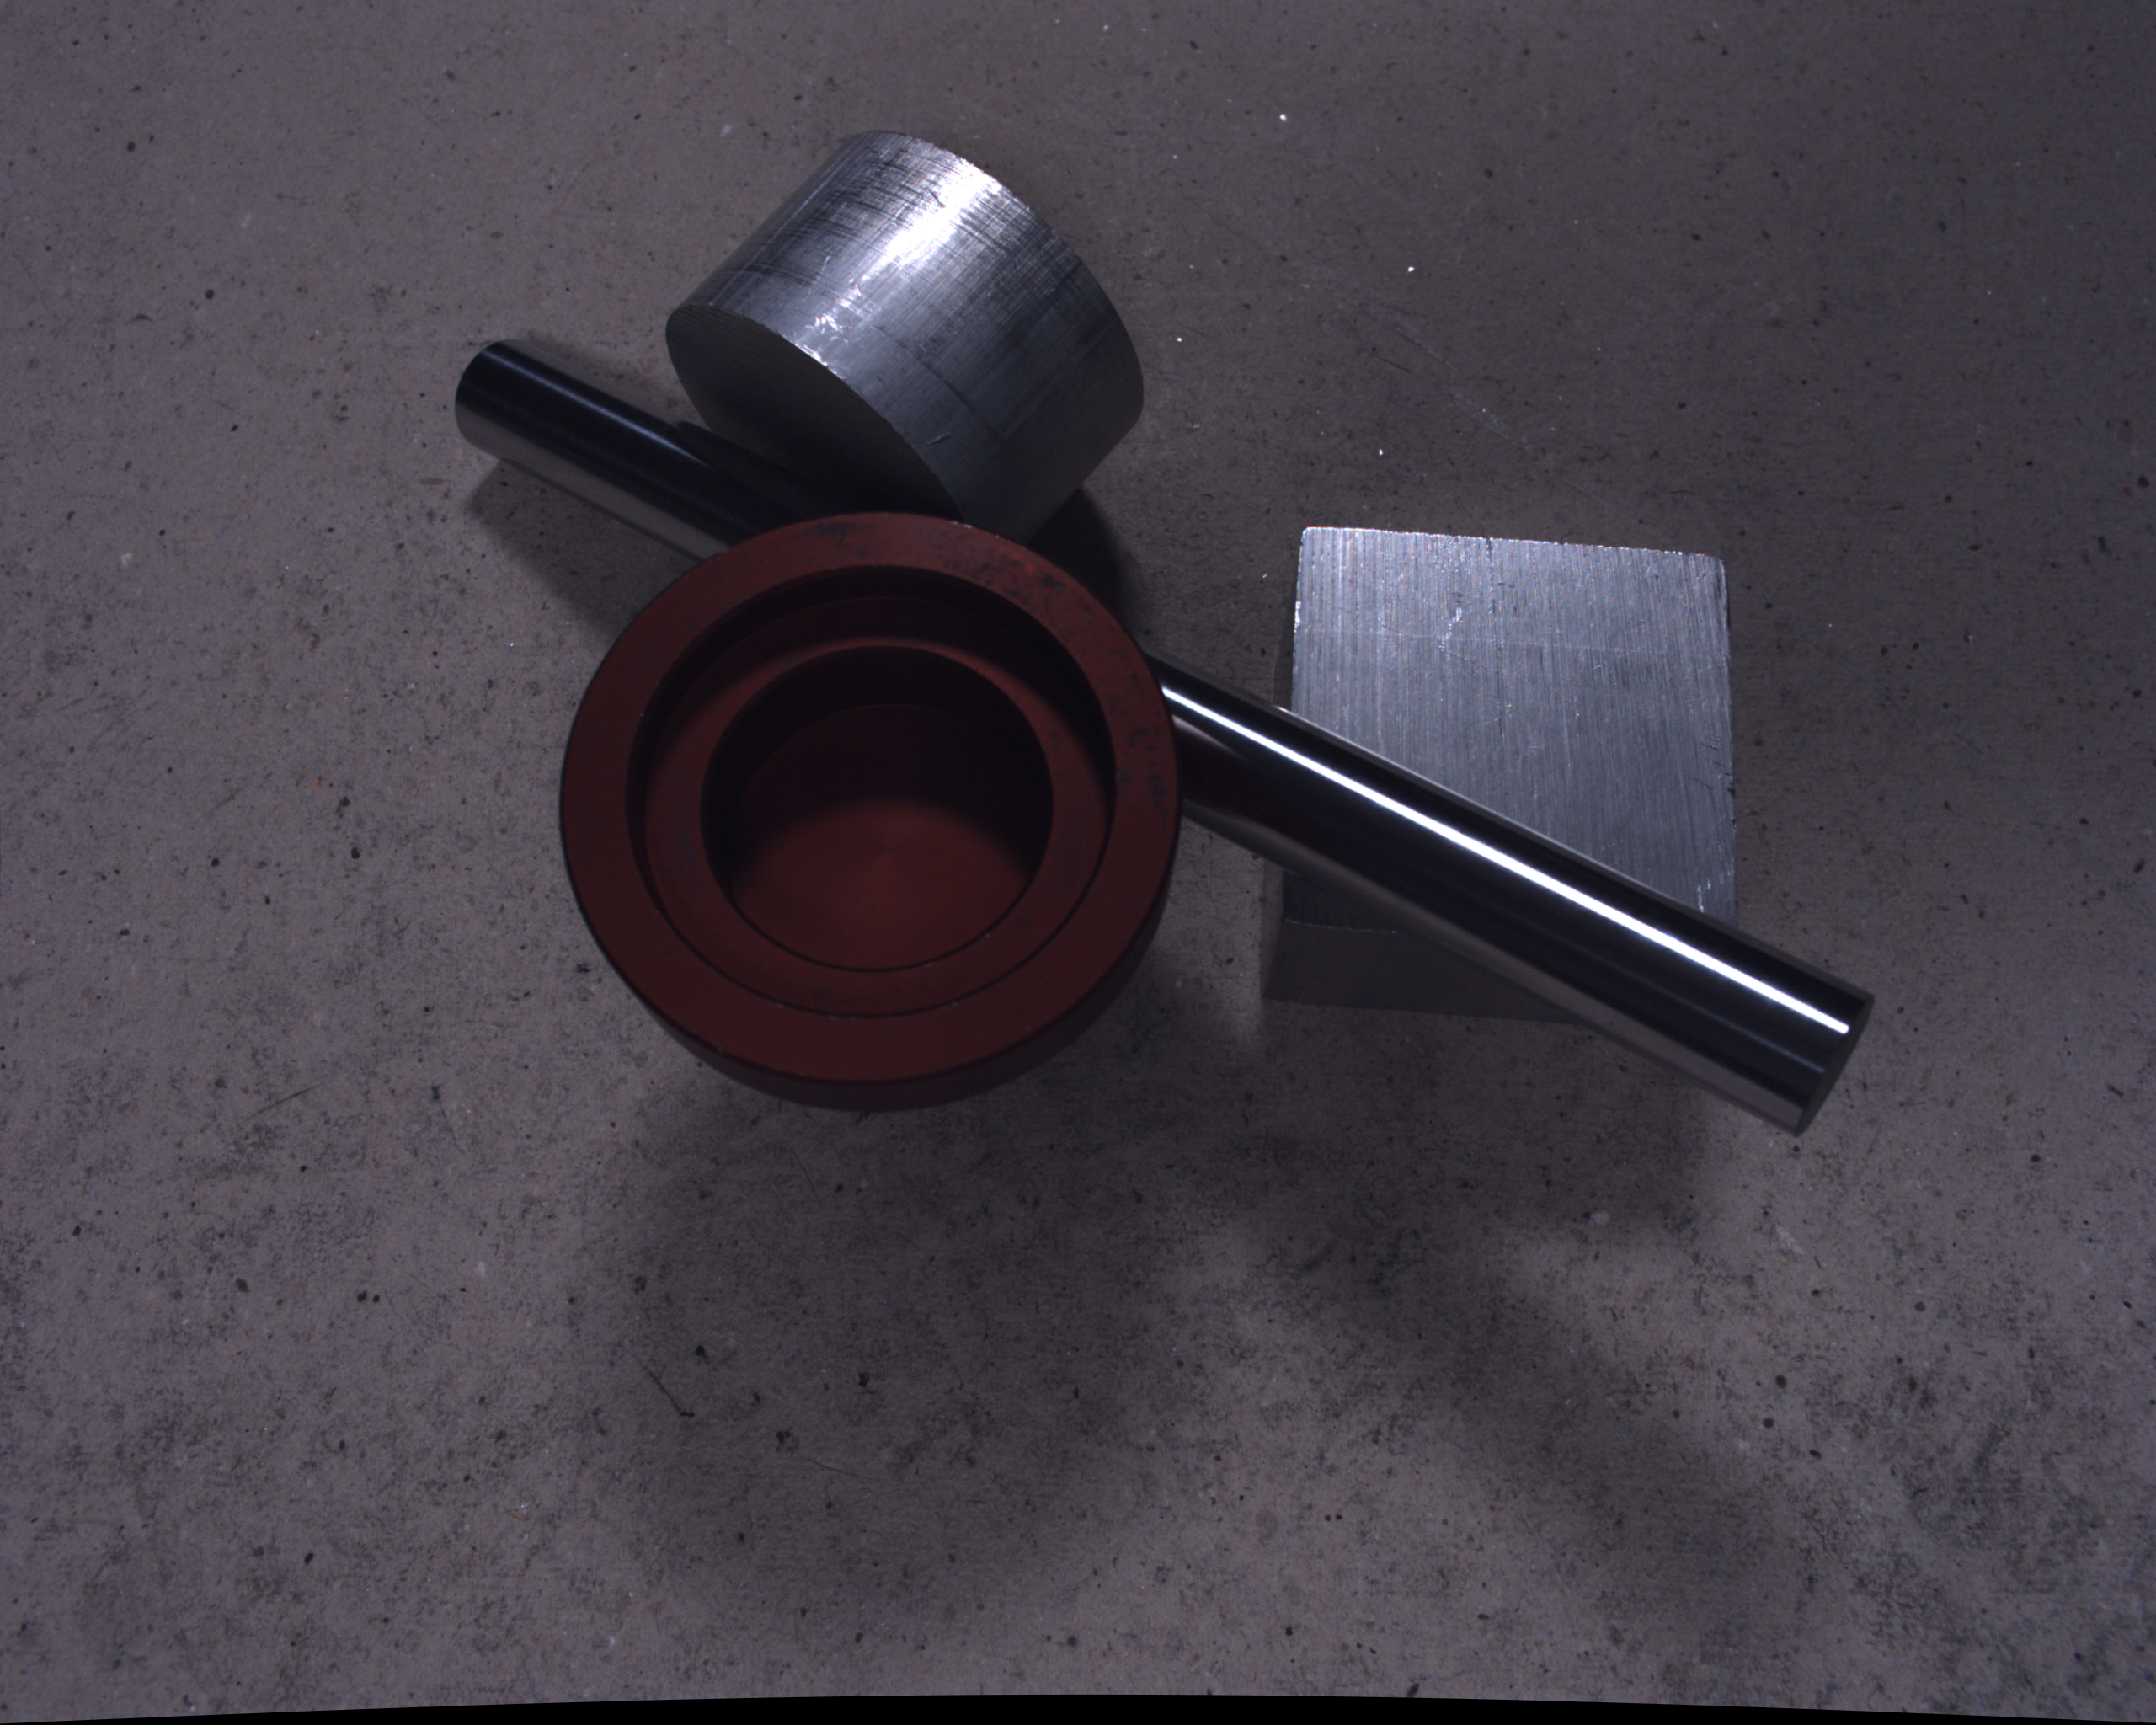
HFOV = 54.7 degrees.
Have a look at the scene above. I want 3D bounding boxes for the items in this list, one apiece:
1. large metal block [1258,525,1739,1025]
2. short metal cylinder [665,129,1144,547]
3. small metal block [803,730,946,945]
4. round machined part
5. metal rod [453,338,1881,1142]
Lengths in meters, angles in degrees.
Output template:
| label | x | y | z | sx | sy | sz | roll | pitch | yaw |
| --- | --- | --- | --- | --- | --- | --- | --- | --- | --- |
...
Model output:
| label | x | y | z | sx | sy | sz | roll | pitch | yaw |
| --- | --- | --- | --- | --- | --- | --- | --- | --- | --- |
| large metal block | 0.079 | -0.015 | 0.403 | 0.081 | 0.050 | 0.080 | 4 | 70 | 1 |
| short metal cylinder | -0.034 | -0.097 | 0.415 | 0.080 | 0.080 | 0.050 | 36 | 74 | 12 |
| small metal block | -0.037 | -0.002 | 0.397 | 0.025 | 0.050 | 0.050 | -2 | 70 | -1 |
| round machined part | -0.033 | -0.006 | 0.350 | 0.099 | 0.042 | 0.098 | 0 | 71 | -1 |
| metal rod | -0.003 | -0.034 | 0.382 | 0.300 | 0.025 | 0.025 | 29 | 72 | 24 |
